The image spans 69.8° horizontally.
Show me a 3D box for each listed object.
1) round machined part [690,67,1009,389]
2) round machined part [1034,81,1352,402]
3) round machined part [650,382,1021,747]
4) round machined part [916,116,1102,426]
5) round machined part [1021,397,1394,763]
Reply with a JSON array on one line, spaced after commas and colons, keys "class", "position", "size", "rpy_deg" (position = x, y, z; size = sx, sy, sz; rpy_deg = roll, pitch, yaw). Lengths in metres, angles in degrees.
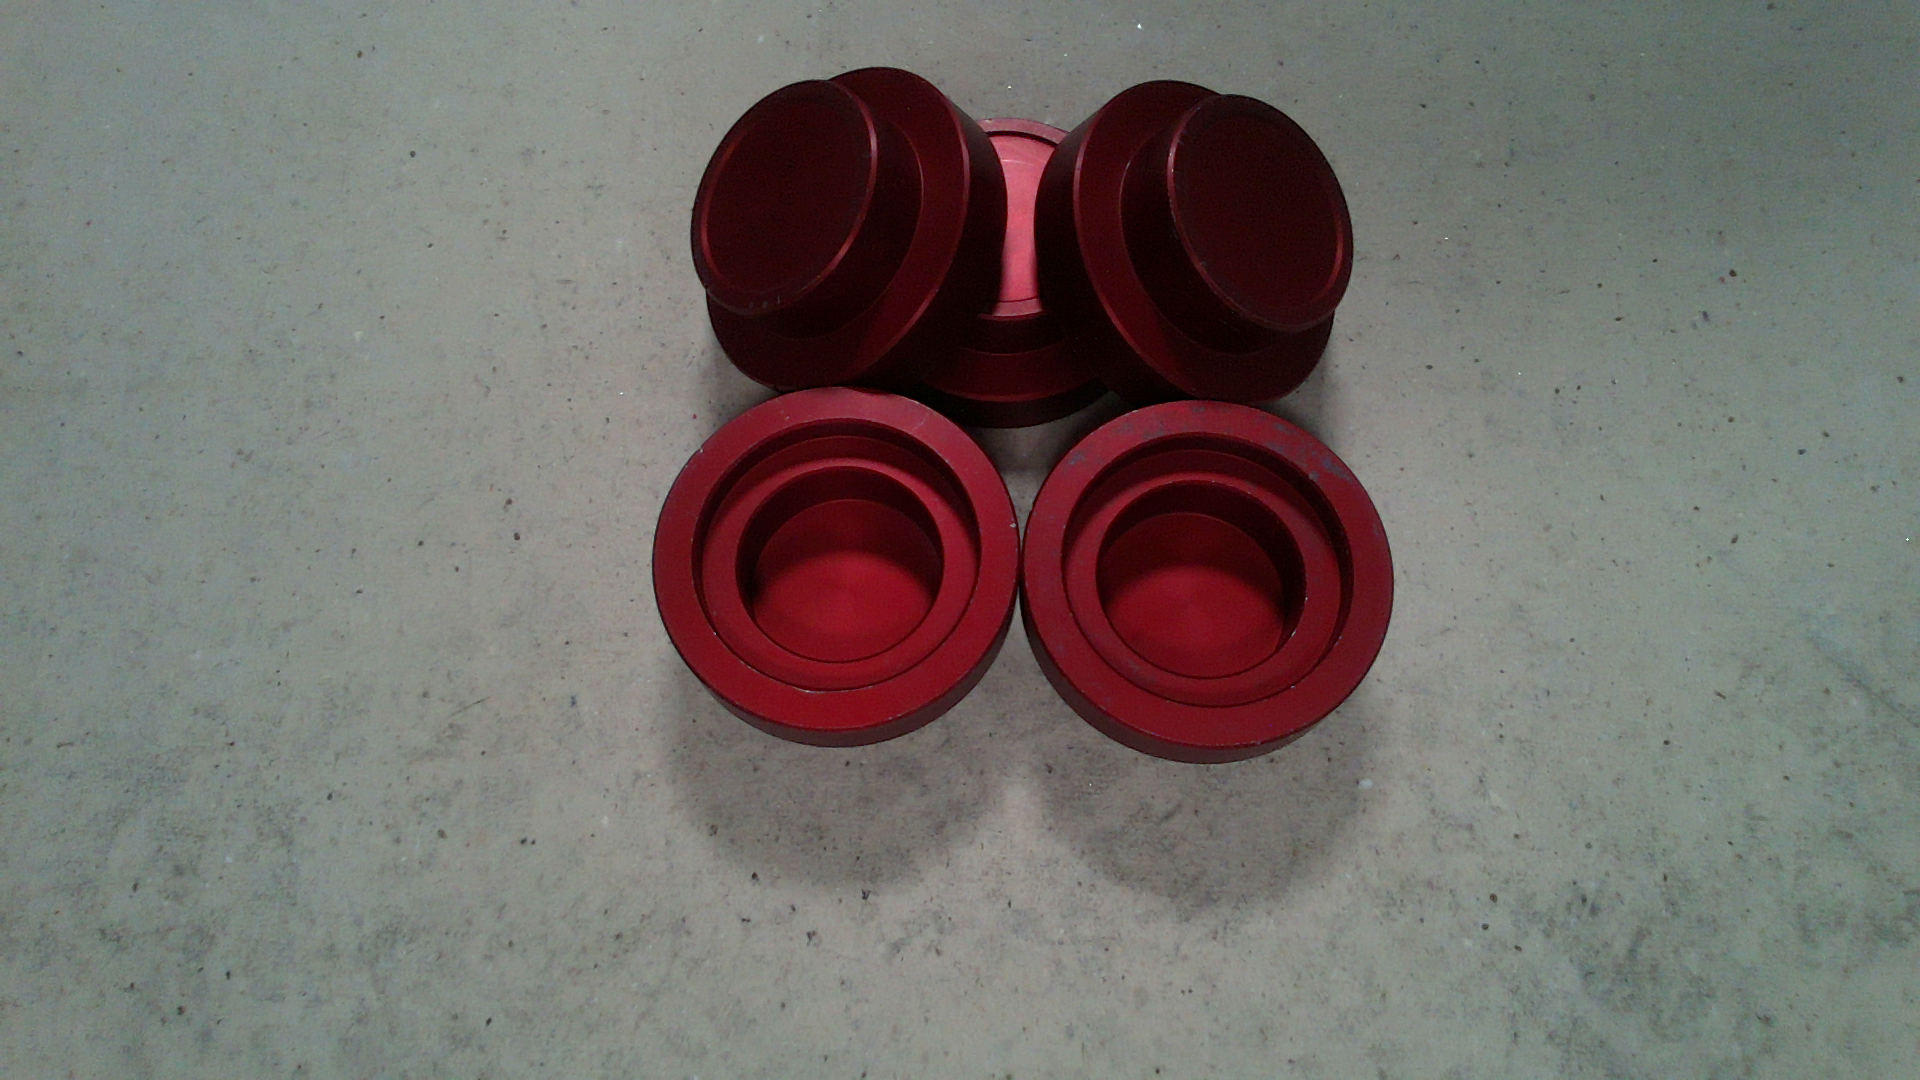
[{"class": "round machined part", "position": [-0.038, -0.090, 0.393], "size": [0.098, 0.042, 0.098], "rpy_deg": [-10, 71, 32]}, {"class": "round machined part", "position": [0.073, -0.086, 0.394], "size": [0.098, 0.042, 0.098], "rpy_deg": [8, 74, -30]}, {"class": "round machined part", "position": [-0.033, 0.009, 0.382], "size": [0.098, 0.042, 0.098], "rpy_deg": [0, 70, 0]}, {"class": "round machined part", "position": [0.013, -0.088, 0.417], "size": [0.098, 0.042, 0.098], "rpy_deg": [0, 70, 0]}, {"class": "round machined part", "position": [0.065, 0.013, 0.381], "size": [0.098, 0.042, 0.098], "rpy_deg": [0, 70, 0]}]
